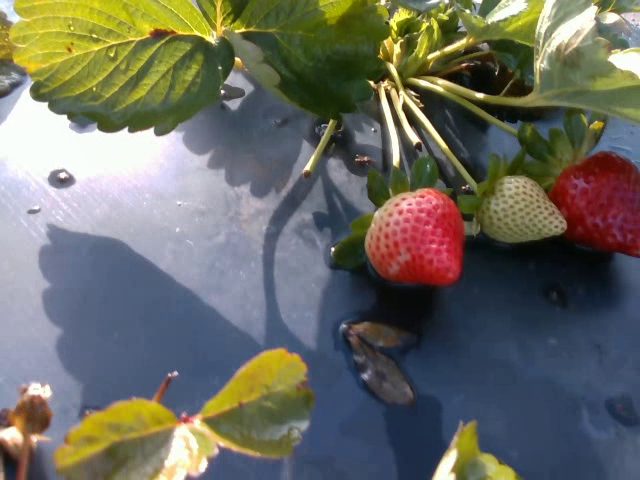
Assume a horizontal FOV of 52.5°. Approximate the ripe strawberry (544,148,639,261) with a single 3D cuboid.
[{"bbox_3d":[0.131,-0.011,0.282,0.048,0.065,0.050,-37,-22,14],"label":"ripe strawberry"}]
